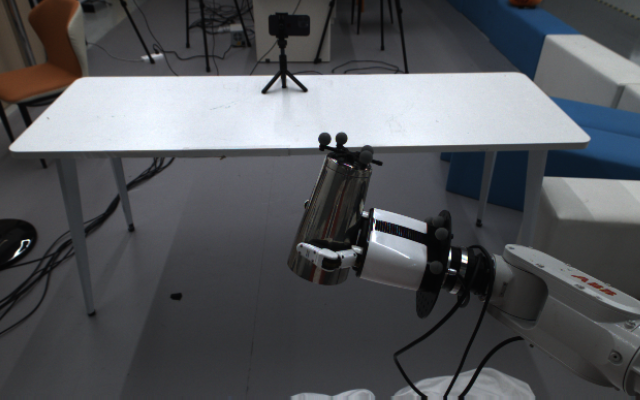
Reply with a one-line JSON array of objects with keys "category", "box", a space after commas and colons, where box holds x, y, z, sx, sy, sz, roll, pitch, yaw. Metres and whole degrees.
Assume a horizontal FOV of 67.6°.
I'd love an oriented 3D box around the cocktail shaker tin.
[{"category": "cocktail shaker tin", "box": [0.018, 0.023, 0.684, 0.093, 0.170, 0.093, 14, 20, -5]}]
